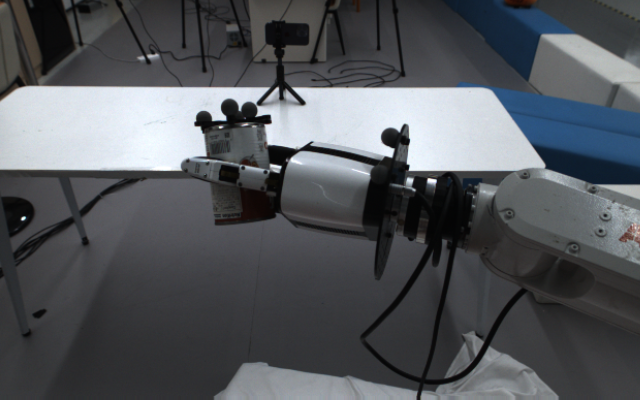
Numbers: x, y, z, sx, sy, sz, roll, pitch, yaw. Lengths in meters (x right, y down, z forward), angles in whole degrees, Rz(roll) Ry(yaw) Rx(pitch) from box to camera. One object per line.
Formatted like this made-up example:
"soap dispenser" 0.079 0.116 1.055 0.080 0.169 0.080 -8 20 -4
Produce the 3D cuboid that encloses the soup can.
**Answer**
"soup can" -0.084 -0.027 0.523 0.067 0.101 0.067 -7 3 0
